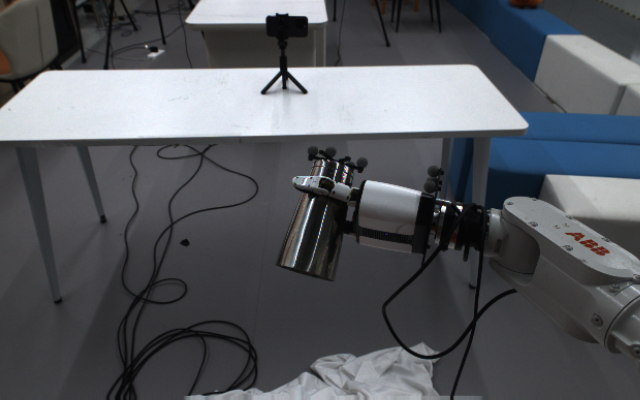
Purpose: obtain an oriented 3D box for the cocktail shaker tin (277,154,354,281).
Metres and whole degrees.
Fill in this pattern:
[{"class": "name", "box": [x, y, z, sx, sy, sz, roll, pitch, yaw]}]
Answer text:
[{"class": "cocktail shaker tin", "box": [0.001, 0.026, 0.736, 0.093, 0.093, 0.170, 13, 77, 15]}]
